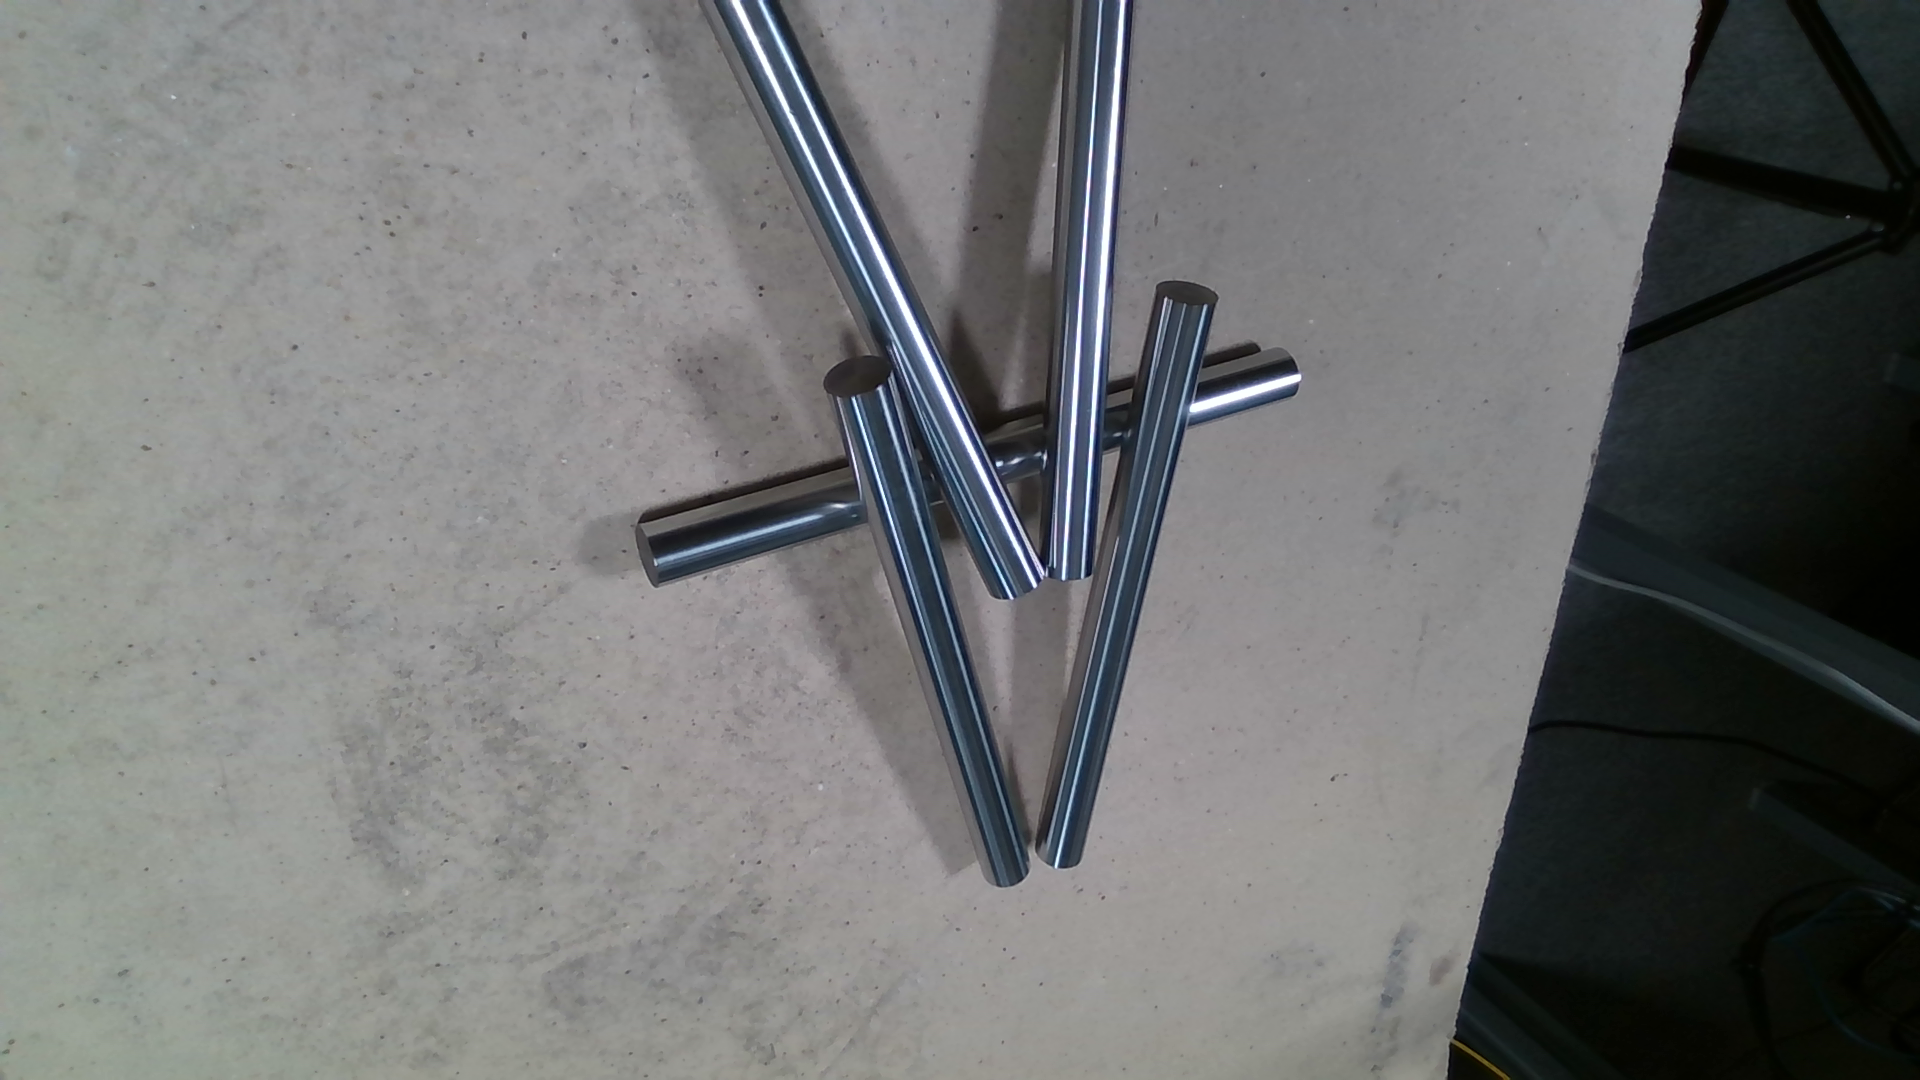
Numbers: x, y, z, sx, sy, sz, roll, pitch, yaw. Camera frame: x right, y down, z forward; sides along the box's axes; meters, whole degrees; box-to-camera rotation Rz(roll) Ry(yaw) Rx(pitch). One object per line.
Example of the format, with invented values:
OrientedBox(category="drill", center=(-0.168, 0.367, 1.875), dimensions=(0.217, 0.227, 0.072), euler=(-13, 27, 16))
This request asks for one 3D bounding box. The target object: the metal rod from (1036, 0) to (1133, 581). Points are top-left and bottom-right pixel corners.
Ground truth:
OrientedBox(category="metal rod", center=(0.048, -0.128, 0.523), dimensions=(0.025, 0.025, 0.301), euler=(-9, 114, -27))

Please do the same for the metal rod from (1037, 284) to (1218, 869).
OrientedBox(category="metal rod", center=(0.069, 0.030, 0.619), dimensions=(0.025, 0.025, 0.301), euler=(-9, 126, -27))

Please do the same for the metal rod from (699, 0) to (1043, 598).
OrientedBox(category="metal rod", center=(-0.034, -0.100, 0.488), dimensions=(0.025, 0.025, 0.301), euler=(-34, 122, -12))

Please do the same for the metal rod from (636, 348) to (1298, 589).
OrientedBox(category="metal rod", center=(0.015, -0.035, 0.571), dimensions=(0.300, 0.025, 0.025), euler=(-17, 123, -23))

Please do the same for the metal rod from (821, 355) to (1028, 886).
OrientedBox(category="metal rod", center=(-0.007, 0.052, 0.584), dimensions=(0.025, 0.025, 0.301), euler=(-29, 133, -15))
